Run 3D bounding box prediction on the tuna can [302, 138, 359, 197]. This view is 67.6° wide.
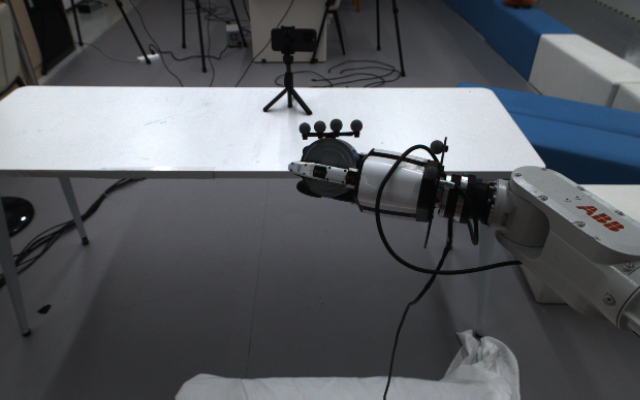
[{"bbox_3d":[0.017,-0.049,0.713,0.085,0.085,0.034,15,10,18],"label":"tuna can"}]
